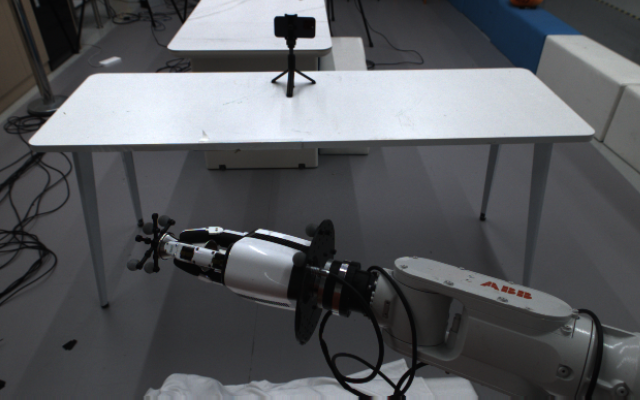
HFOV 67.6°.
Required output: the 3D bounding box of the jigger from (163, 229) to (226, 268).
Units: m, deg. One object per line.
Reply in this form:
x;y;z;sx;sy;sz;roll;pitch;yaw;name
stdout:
-0.175;0.066;0.659;0.071;0.043;0.043;10;35;16;jigger
